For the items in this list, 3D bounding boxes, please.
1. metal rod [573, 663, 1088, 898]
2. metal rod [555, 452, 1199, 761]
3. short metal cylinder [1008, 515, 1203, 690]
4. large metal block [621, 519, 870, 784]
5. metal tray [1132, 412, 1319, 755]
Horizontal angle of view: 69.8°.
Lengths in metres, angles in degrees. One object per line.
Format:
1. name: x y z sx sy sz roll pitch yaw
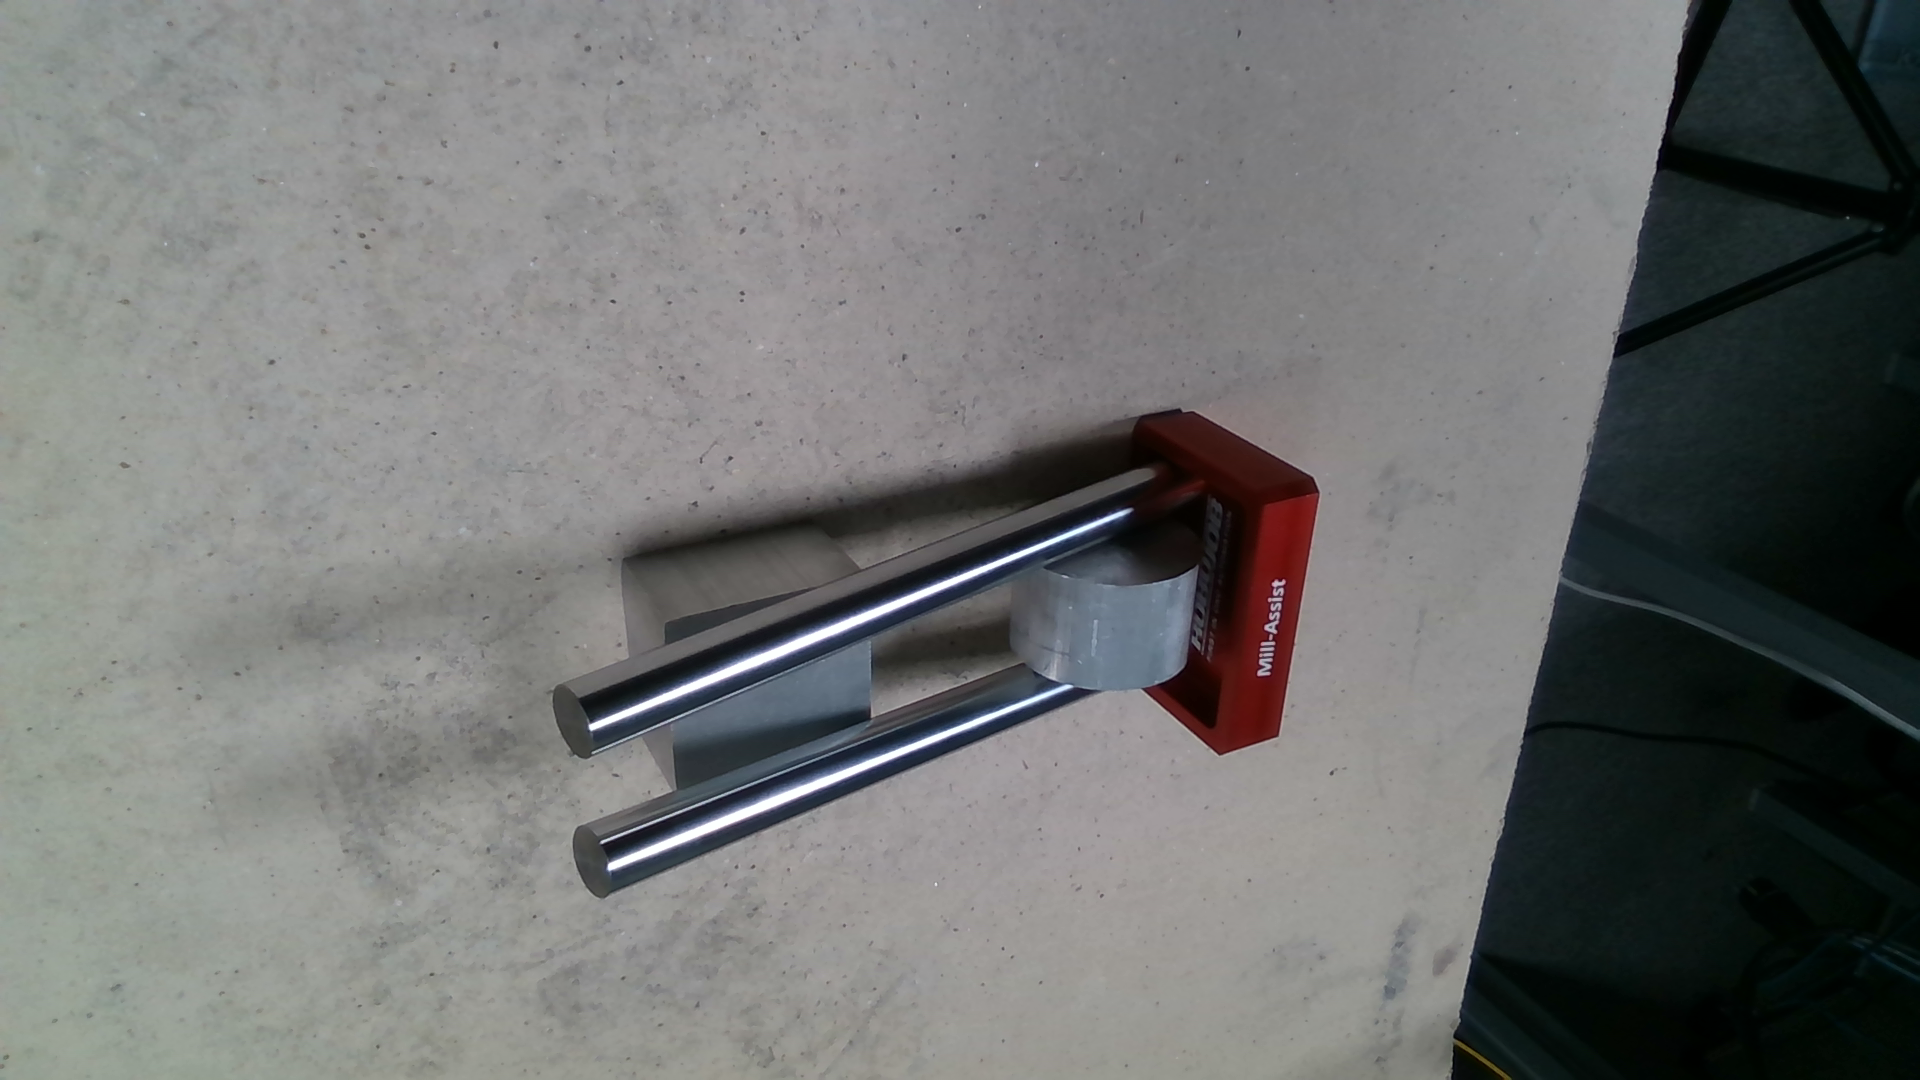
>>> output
1. metal rod: -0.014 0.076 0.554 0.300 0.025 0.025 -15 123 -42
2. metal rod: -0.011 0.013 0.522 0.300 0.025 0.025 -22 126 -38
3. short metal cylinder: 0.062 0.022 0.596 0.080 0.080 0.050 -13 121 -26
4. large metal block: -0.082 0.045 0.536 0.080 0.050 0.080 -13 121 -26
5. metal tray: 0.110 0.018 0.616 0.030 0.090 0.130 -12 121 -26
